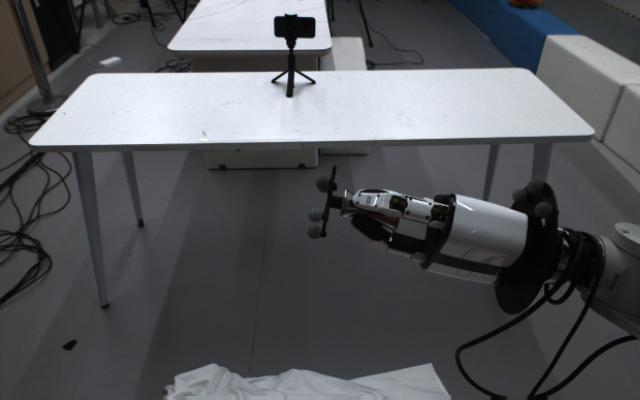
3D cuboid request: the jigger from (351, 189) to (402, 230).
[{"bbox_3d":[0.067,0.007,0.579,0.071,0.043,0.043,11,35,3],"label":"jigger"}]
